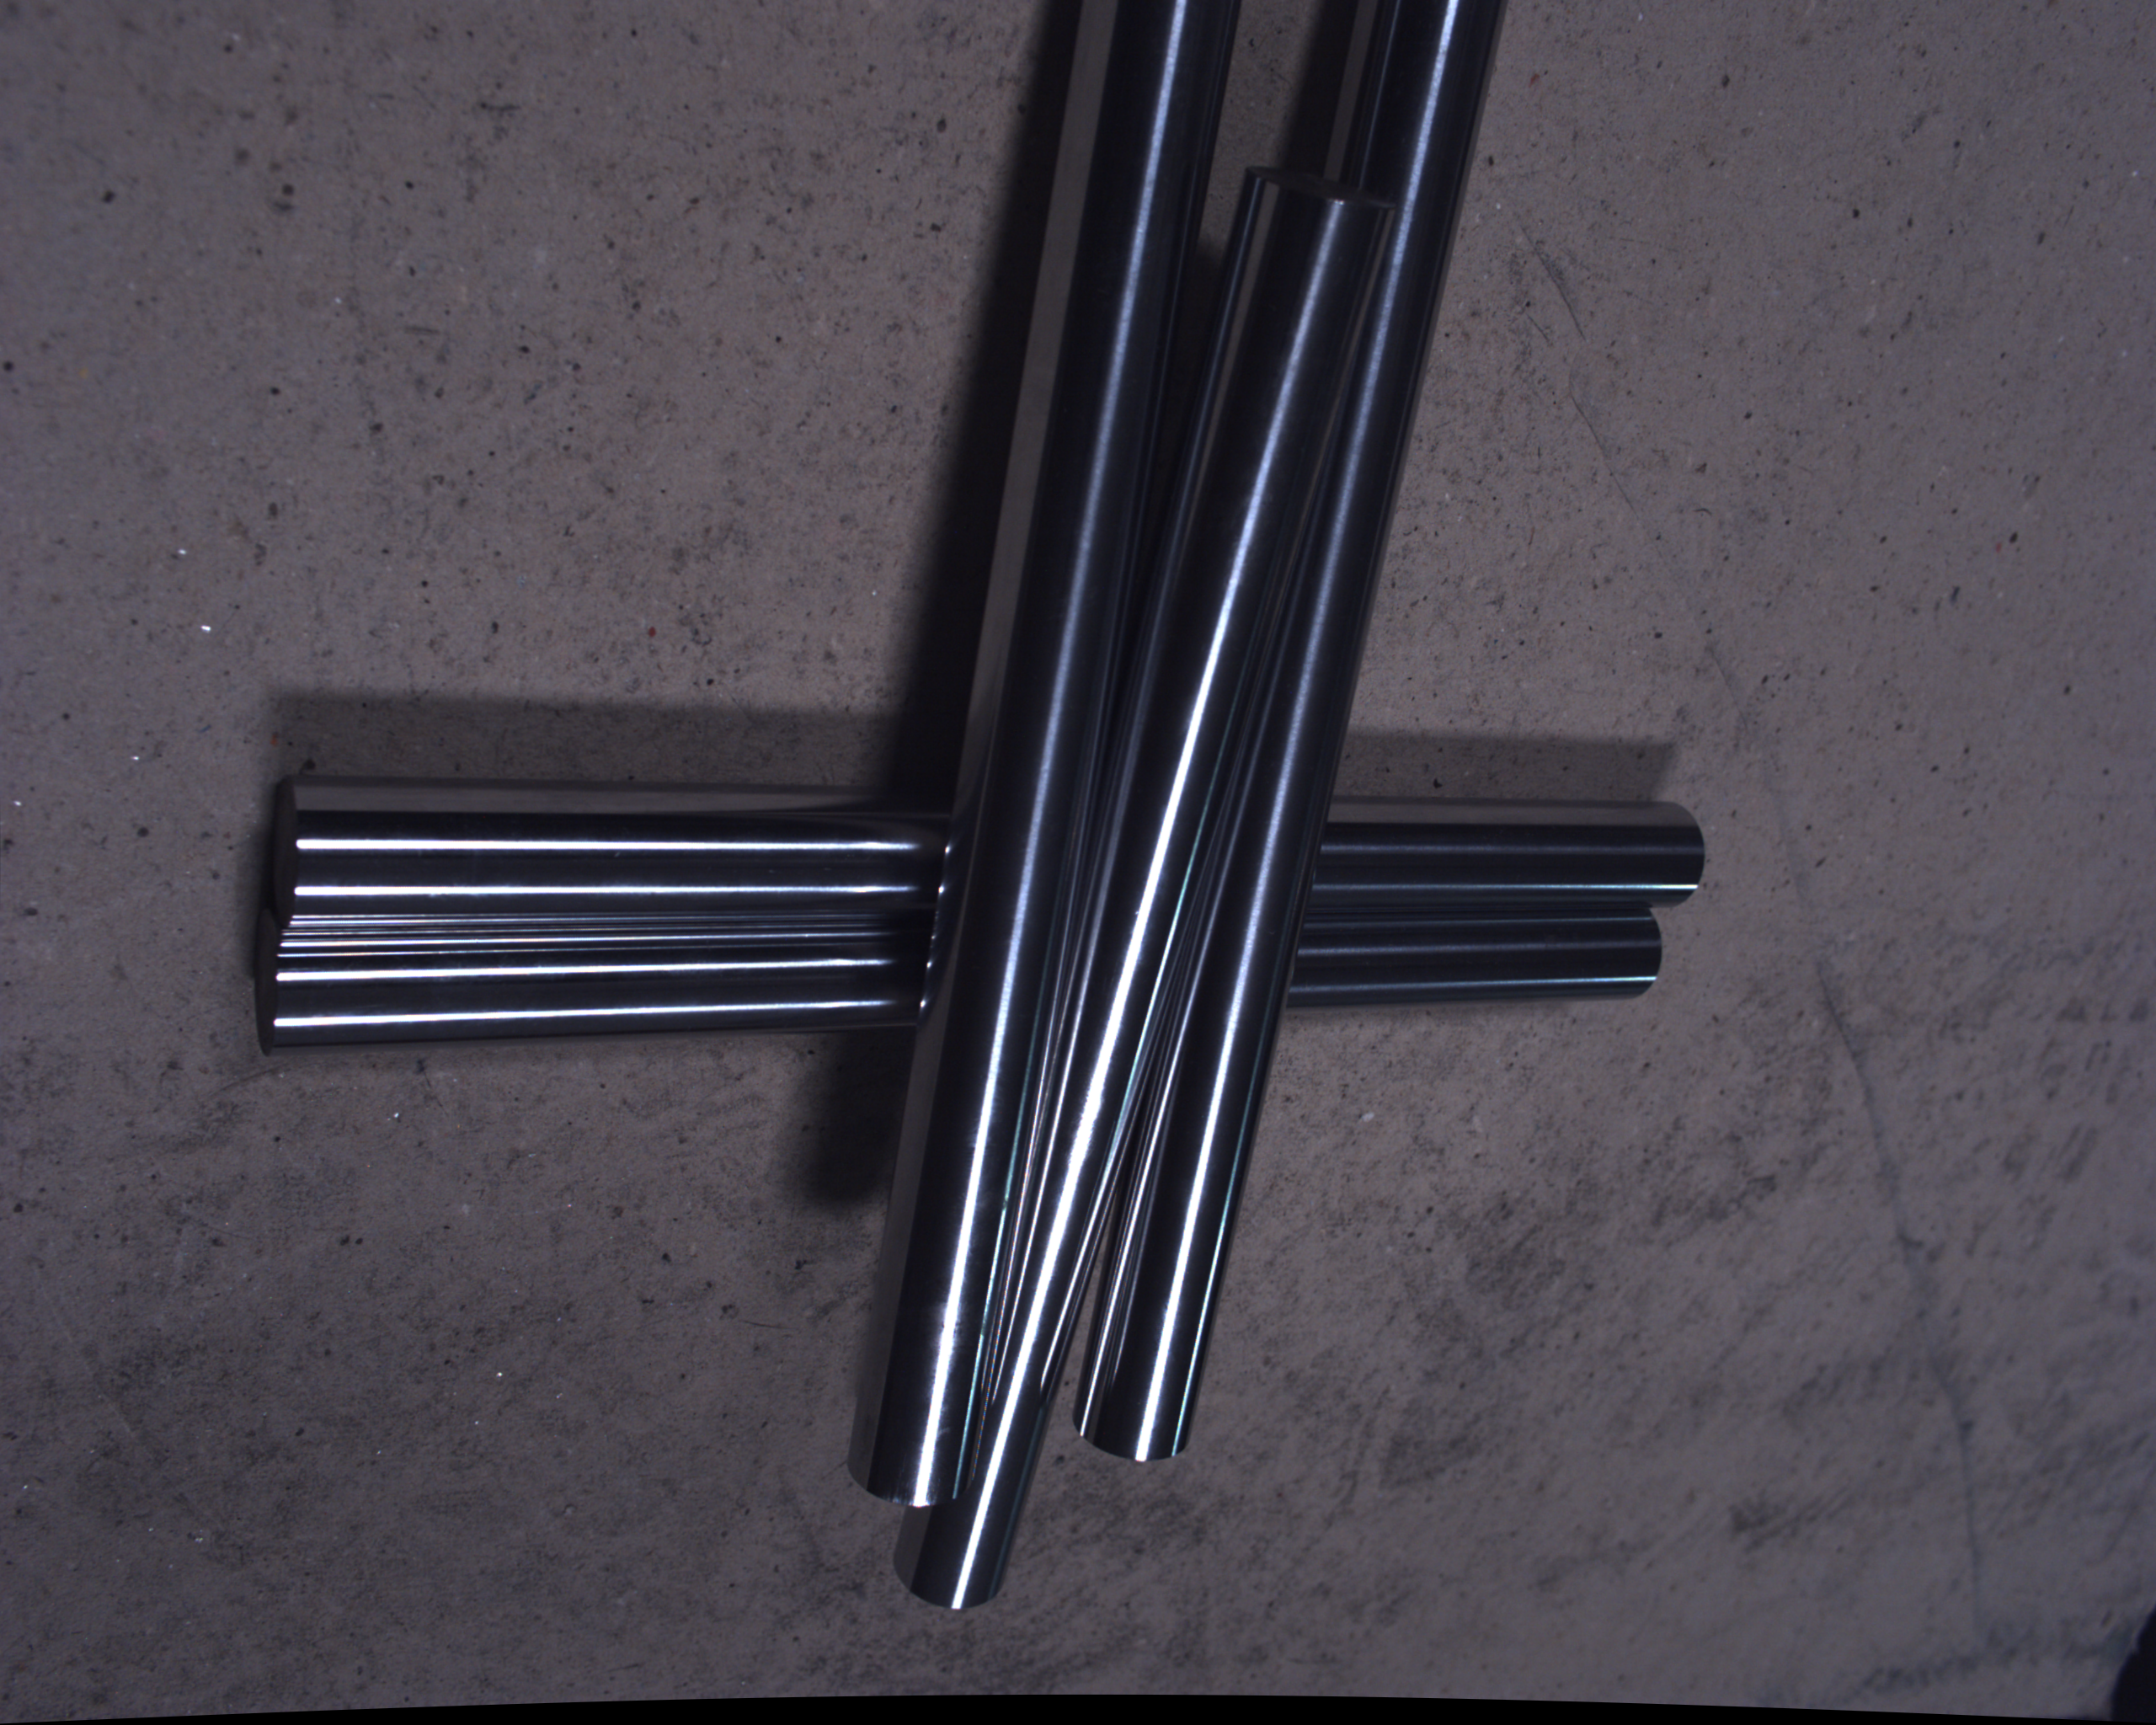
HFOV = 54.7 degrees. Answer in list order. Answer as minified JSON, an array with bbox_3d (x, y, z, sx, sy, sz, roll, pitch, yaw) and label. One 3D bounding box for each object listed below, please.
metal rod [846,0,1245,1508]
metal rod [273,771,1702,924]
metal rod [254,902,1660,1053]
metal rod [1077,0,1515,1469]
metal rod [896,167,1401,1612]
[{"bbox_3d":[-0.008,-0.020,0.366,0.025,0.025,0.298,0,110,-29],"label":"metal rod"},{"bbox_3d":[0.004,-0.002,0.411,0.303,0.025,0.025,0,119,-29],"label":"metal rod"},{"bbox_3d":[-0.003,0.019,0.421,0.303,0.025,0.025,0,119,-29],"label":"metal rod"},{"bbox_3d":[0.038,-0.020,0.390,0.025,0.025,0.298,0,110,-29],"label":"metal rod"},{"bbox_3d":[0.006,0.023,0.394,0.025,0.025,0.298,0,118,-29],"label":"metal rod"}]
